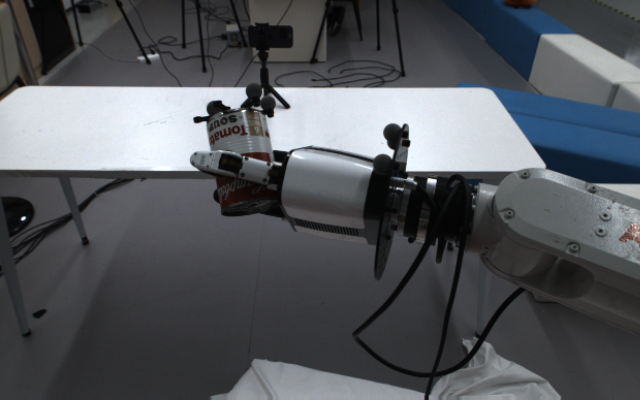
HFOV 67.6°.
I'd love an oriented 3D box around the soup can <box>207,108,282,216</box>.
[{"bbox_3d":[-0.080,-0.039,0.525,0.067,0.067,0.101,-10,80,-17],"label":"soup can"}]
